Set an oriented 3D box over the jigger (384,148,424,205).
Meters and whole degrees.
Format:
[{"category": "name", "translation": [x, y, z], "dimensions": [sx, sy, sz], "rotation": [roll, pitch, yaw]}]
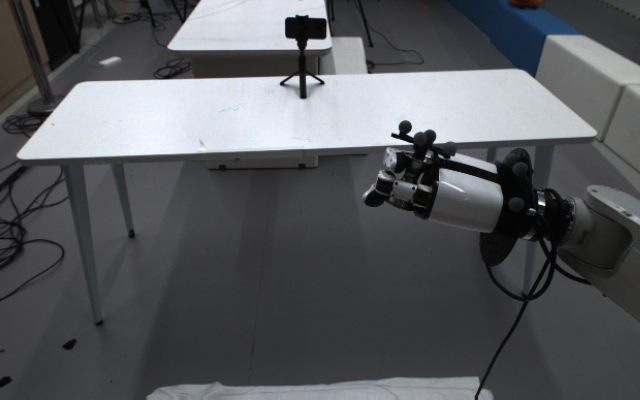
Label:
[{"category": "jigger", "translation": [0.118, -0.025, 0.639], "dimensions": [0.043, 0.071, 0.043], "rotation": [18, 17, -6]}]
